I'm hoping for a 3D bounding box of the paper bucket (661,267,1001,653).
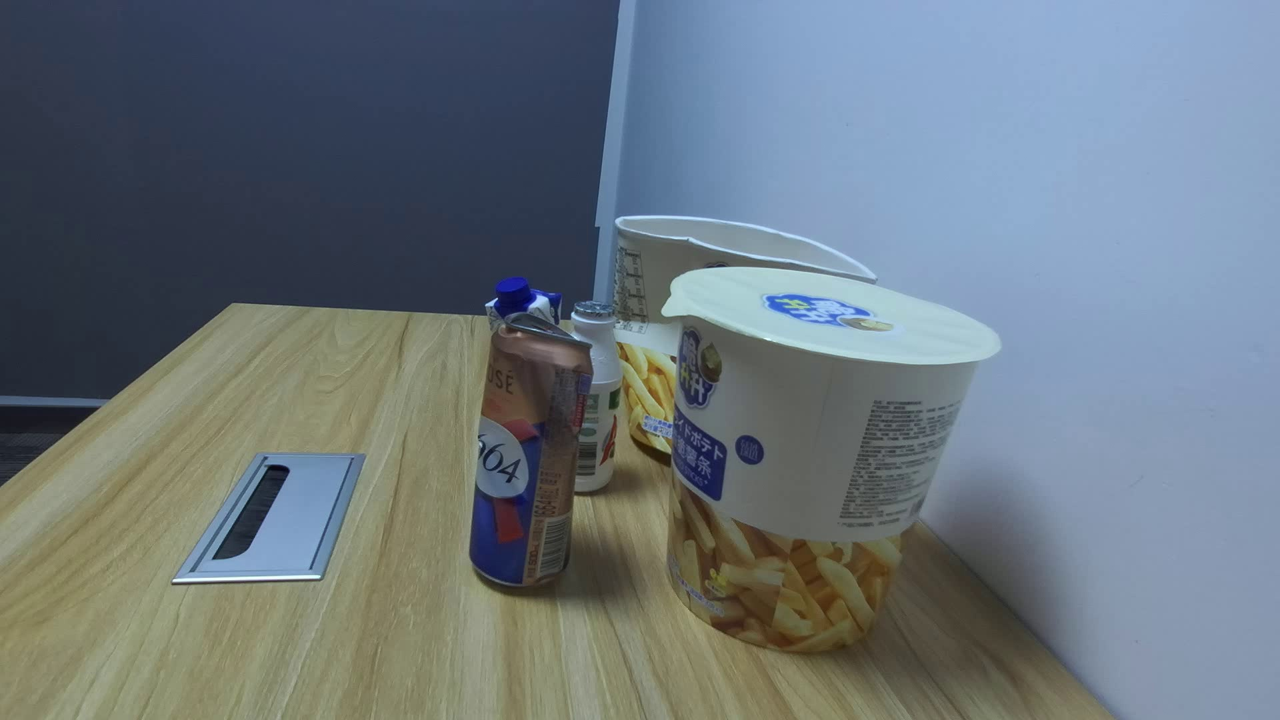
[{"bbox_3d":[0.102,0.058,0.449,0.198,0.194,0.198,6,20,-2],"label":"paper bucket"}]

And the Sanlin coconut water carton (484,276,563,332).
[{"bbox_3d":[-0.105,-0.007,0.639,0.060,0.143,0.070,15,23,22],"label":"Sanlin coconut water carton"}]

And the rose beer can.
[{"bbox_3d":[-0.070,0.058,0.441,0.069,0.168,0.070,9,16,2],"label":"rose beer can"}]

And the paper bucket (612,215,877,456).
[{"bbox_3d":[0.071,-0.013,0.620,0.218,0.199,0.147,9,17,0],"label":"paper bucket"}]

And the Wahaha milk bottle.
[{"bbox_3d":[-0.041,0.030,0.551,0.053,0.147,0.053,7,19,-2],"label":"Wahaha milk bottle"}]
